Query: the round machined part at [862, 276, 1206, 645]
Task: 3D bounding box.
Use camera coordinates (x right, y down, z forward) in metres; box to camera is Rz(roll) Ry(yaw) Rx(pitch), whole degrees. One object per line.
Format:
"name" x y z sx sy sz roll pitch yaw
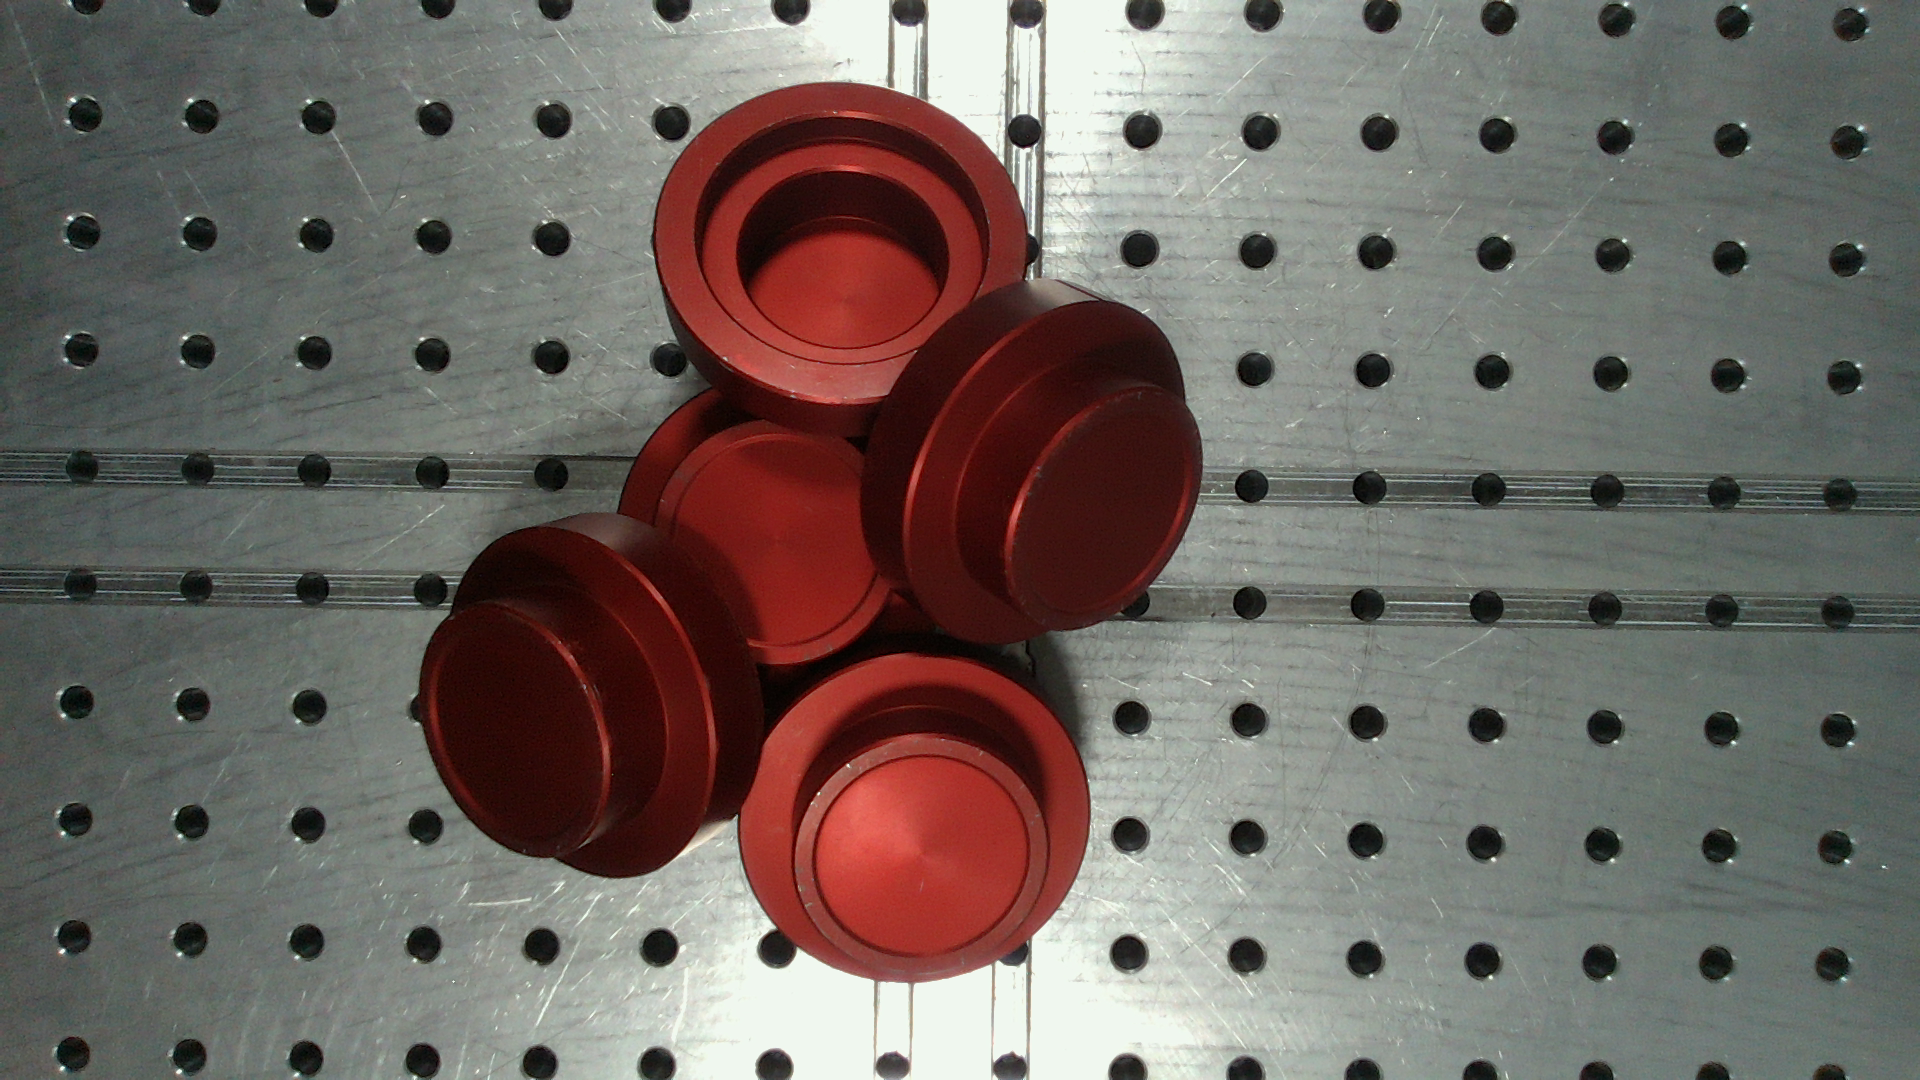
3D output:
"round machined part" 0.026 -0.015 0.360 0.042 0.098 0.098 34 90 41

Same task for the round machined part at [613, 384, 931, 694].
"round machined part" -0.050 0.000 0.388 0.098 0.042 0.098 0 90 0

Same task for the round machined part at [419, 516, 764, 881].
"round machined part" -0.104 0.045 0.365 0.098 0.042 0.098 8 106 29

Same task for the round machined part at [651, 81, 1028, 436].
"round machined part" -0.032 -0.073 0.378 0.098 0.042 0.098 2 69 -5

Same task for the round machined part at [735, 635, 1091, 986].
"round machined part" -0.012 0.078 0.377 0.098 0.042 0.098 -1 102 -6
